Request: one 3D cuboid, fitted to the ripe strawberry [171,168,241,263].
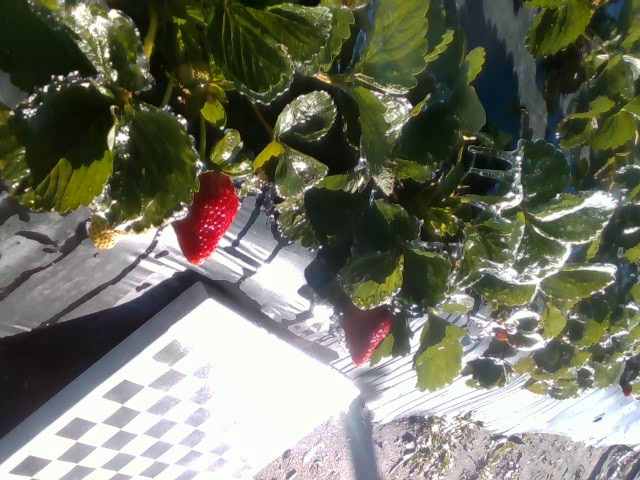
[{"bbox_3d":[-0.072,-0.010,0.348,0.046,0.061,0.042,2,-15,40],"label":"ripe strawberry"}]

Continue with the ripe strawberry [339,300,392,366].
[{"bbox_3d":[0.040,0.087,0.523,0.044,0.061,0.048,16,-12,38],"label":"ripe strawberry"}]
